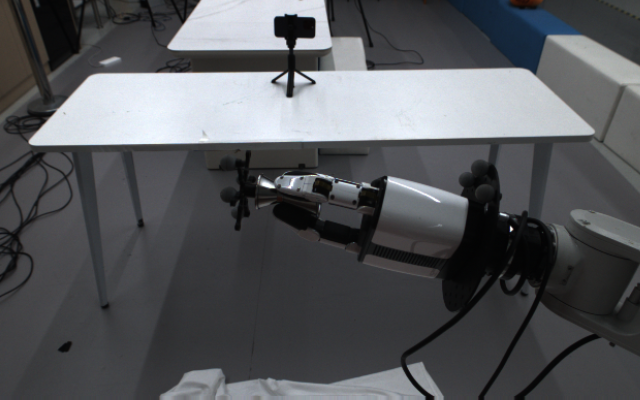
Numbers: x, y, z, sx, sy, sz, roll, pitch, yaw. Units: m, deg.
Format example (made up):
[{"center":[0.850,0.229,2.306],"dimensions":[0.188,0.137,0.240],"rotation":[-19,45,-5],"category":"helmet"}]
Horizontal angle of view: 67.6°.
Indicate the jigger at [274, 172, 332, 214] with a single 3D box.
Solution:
[{"center":[-0.024,-0.010,0.525],"dimensions":[0.071,0.043,0.043],"rotation":[5,35,3],"category":"jigger"}]
